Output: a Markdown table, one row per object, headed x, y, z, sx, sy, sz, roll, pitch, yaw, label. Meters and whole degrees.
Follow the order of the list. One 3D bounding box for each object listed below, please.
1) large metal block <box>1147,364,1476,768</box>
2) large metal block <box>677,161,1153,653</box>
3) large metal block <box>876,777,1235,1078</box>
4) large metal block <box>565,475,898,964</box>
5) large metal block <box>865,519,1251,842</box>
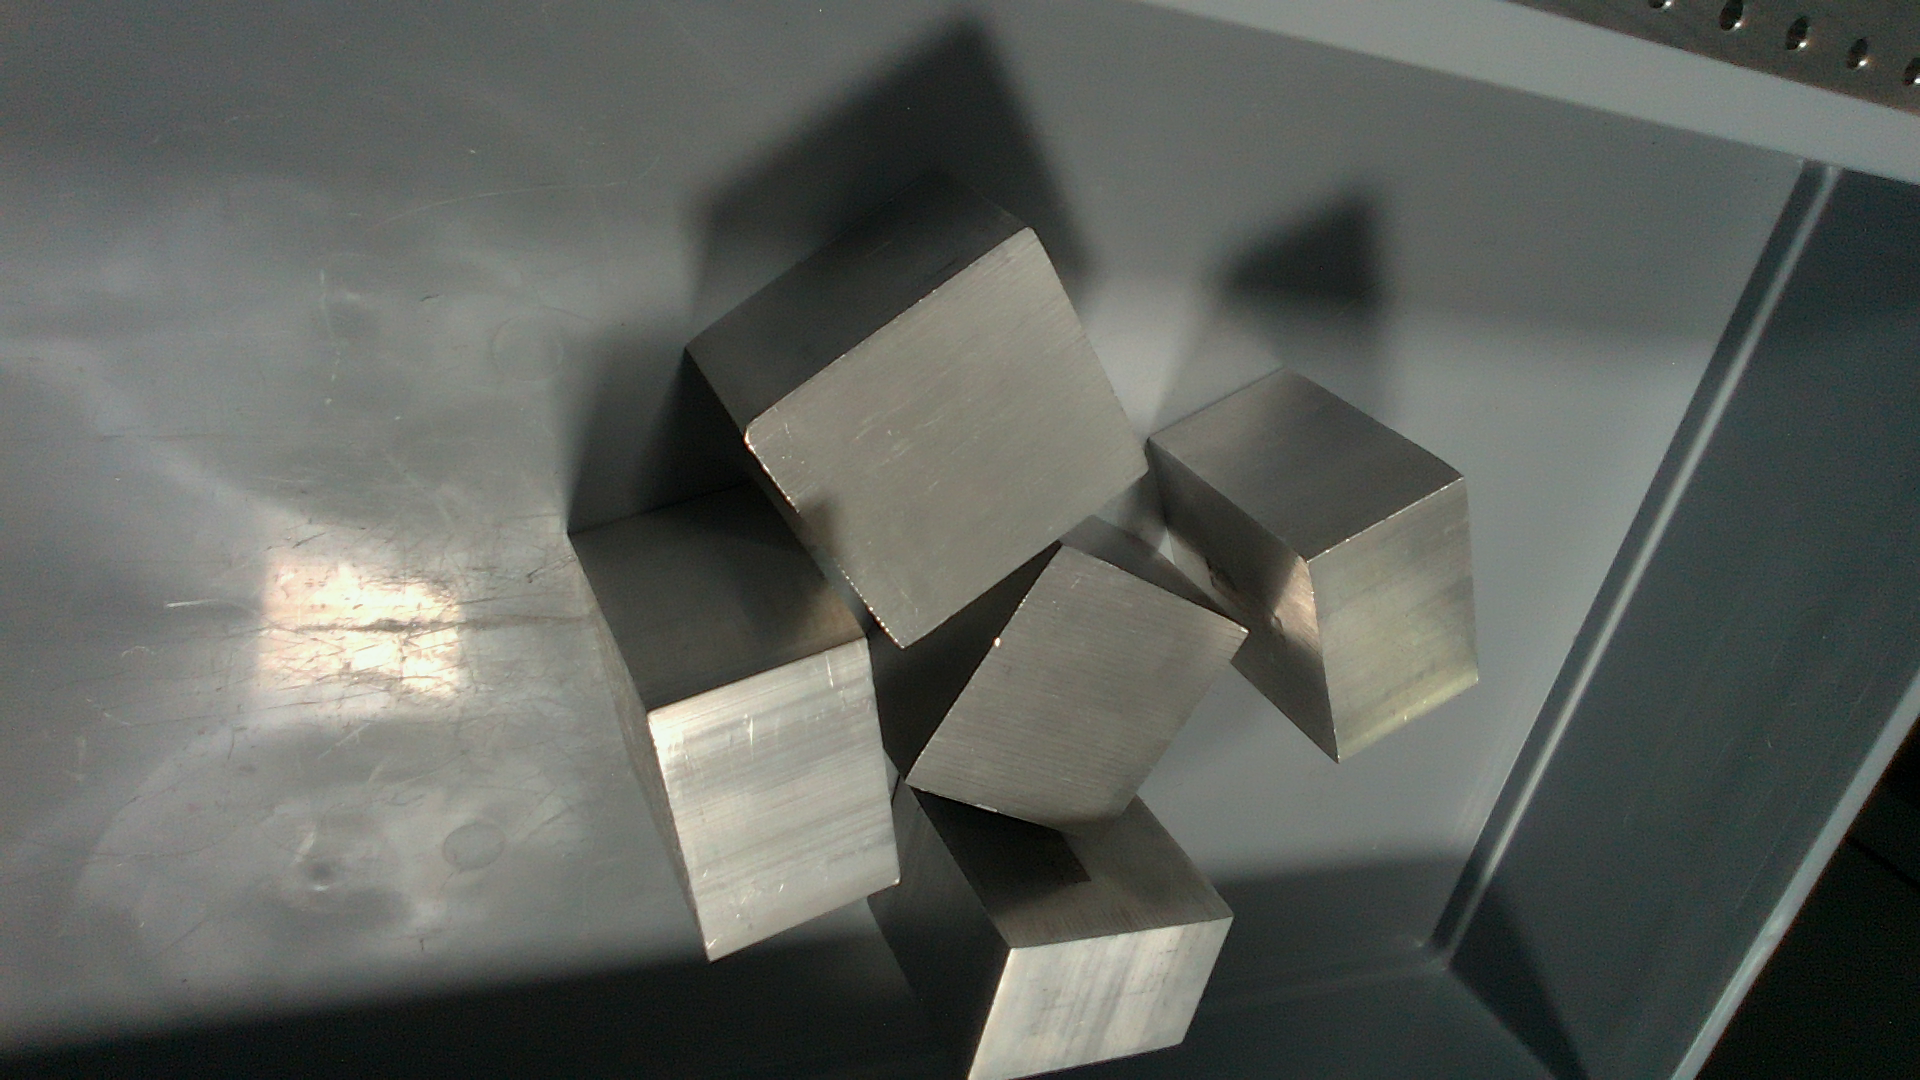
| x | y | z | sx | sy | sz | roll | pitch | yaw | label |
| --- | --- | --- | --- | --- | --- | --- | --- | --- | --- |
| 0.105 | 0.006 | 0.413 | 0.050 | 0.080 | 0.080 | -28 | 128 | -11 | large metal block |
| -0.010 | -0.033 | 0.346 | 0.080 | 0.050 | 0.080 | -36 | 129 | -4 | large metal block |
| 0.026 | 0.115 | 0.438 | 0.080 | 0.080 | 0.050 | 1 | 118 | -29 | large metal block |
| -0.058 | 0.042 | 0.347 | 0.050 | 0.080 | 0.080 | -17 | 125 | -18 | large metal block |
| 0.024 | 0.034 | 0.406 | 0.080 | 0.050 | 0.080 | 25 | 105 | -37 | large metal block |
